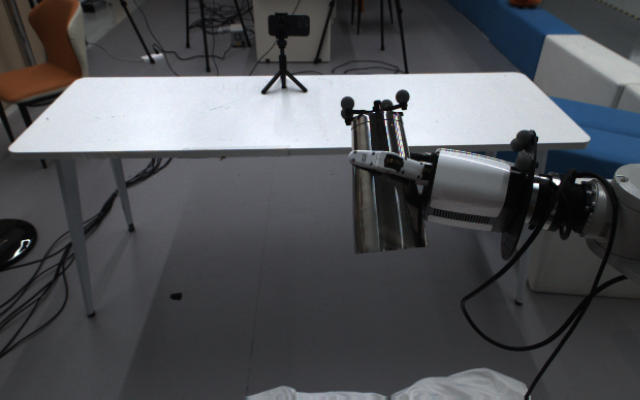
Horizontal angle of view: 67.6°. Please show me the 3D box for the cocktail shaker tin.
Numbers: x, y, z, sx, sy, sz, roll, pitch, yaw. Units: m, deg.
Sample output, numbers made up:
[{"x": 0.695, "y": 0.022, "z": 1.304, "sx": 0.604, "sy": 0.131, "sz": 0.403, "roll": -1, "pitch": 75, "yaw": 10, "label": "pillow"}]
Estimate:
[{"x": 0.082, "y": -0.021, "z": 0.615, "sx": 0.093, "sy": 0.170, "sz": 0.093, "roll": -6, "pitch": -7, "yaw": -1, "label": "cocktail shaker tin"}]
